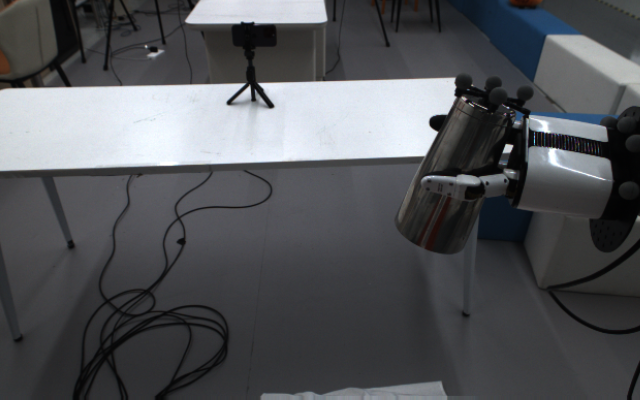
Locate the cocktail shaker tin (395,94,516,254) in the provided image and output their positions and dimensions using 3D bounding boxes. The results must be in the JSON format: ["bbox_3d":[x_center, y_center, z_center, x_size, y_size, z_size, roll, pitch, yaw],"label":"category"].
[{"bbox_3d":[0.161,-0.034,0.562,0.093,0.170,0.093,12,29,-7],"label":"cocktail shaker tin"}]
